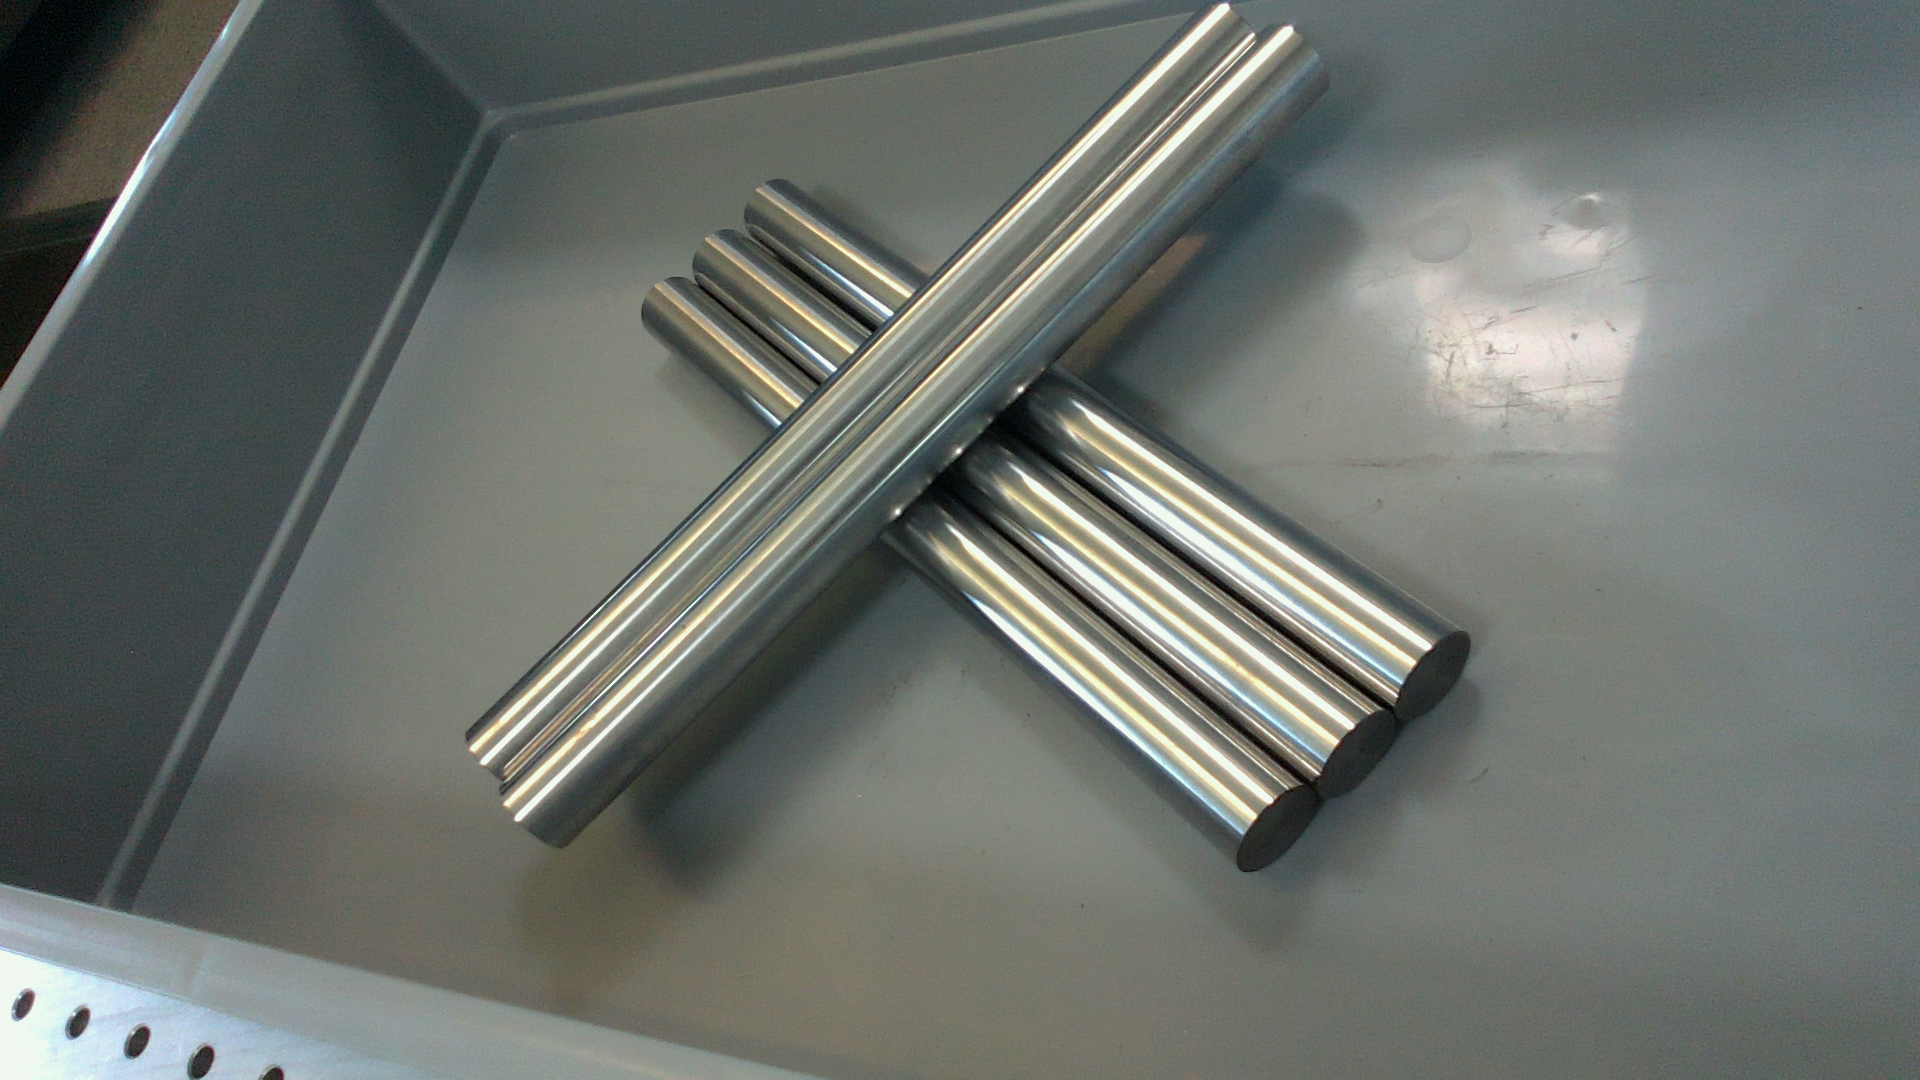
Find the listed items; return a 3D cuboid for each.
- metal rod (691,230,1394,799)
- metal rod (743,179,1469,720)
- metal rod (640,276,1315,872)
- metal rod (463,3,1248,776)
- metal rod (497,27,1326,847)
[{"bbox_3d":[0.002,-0.026,0.408,0.025,0.025,0.299,-46,51,-4],"label":"metal rod"},{"bbox_3d":[0.020,-0.044,0.409,0.025,0.025,0.299,-46,51,-4],"label":"metal rod"},{"bbox_3d":[-0.016,-0.009,0.407,0.025,0.025,0.299,-46,51,-4],"label":"metal rod"},{"bbox_3d":[-0.026,-0.044,0.401,0.300,0.025,0.025,-45,51,-3],"label":"metal rod"},{"bbox_3d":[-0.011,-0.031,0.385,0.300,0.025,0.025,-45,51,-3],"label":"metal rod"}]
